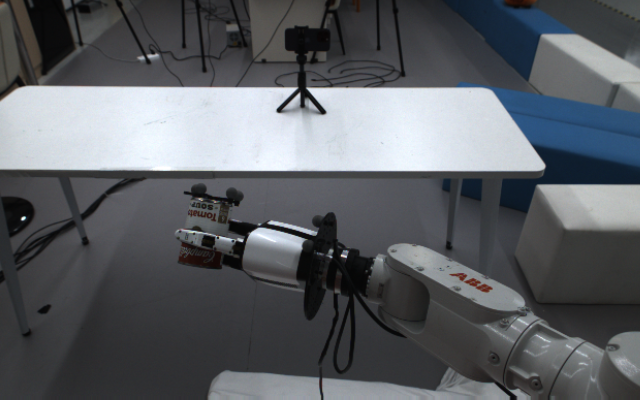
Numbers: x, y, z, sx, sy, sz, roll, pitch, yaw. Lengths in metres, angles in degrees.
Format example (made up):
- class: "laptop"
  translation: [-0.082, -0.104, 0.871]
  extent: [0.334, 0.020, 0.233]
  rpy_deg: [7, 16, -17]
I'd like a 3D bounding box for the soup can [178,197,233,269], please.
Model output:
- class: "soup can"
  translation: [-0.176, 0.053, 0.746]
  extent: [0.067, 0.101, 0.067]
  rpy_deg: [9, -5, 1]
